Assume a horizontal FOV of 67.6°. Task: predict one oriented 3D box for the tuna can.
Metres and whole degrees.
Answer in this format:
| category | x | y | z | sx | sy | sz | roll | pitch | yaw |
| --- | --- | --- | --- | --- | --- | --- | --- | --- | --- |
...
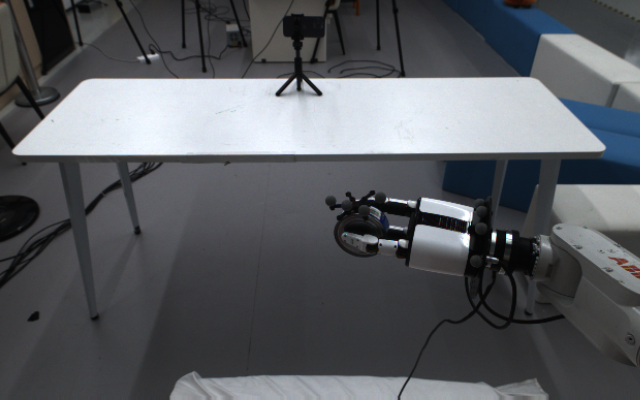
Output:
| category | x | y | z | sx | sy | sz | roll | pitch | yaw |
| --- | --- | --- | --- | --- | --- | --- | --- | --- | --- |
| tuna can | 0.069 | 0.049 | 0.776 | 0.085 | 0.085 | 0.034 | 10 | 33 | 11 |
